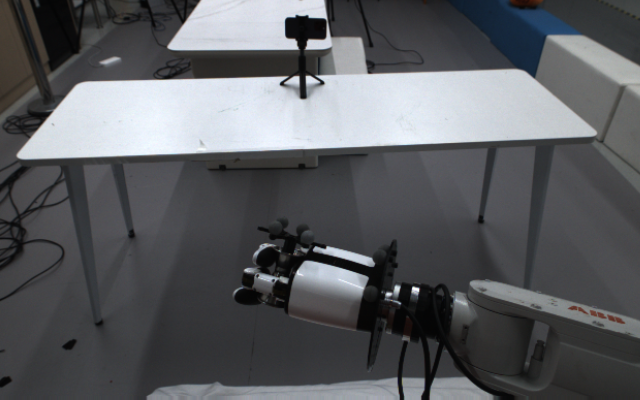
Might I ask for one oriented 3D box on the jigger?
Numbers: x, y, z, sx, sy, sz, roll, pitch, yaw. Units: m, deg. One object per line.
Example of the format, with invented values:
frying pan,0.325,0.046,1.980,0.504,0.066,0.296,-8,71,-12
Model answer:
jigger,-0.048,0.096,0.607,0.043,0.071,0.043,17,2,-1
